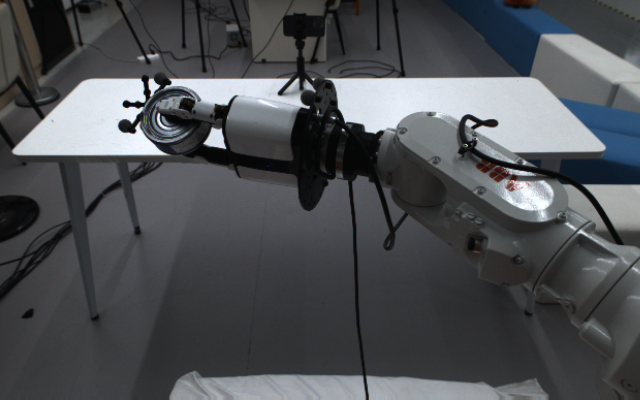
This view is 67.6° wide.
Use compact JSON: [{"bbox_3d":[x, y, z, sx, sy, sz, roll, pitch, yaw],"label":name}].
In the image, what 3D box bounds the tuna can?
[{"bbox_3d":[-0.185,-0.103,0.633,0.085,0.034,0.085,-1,74,5],"label":"tuna can"}]
